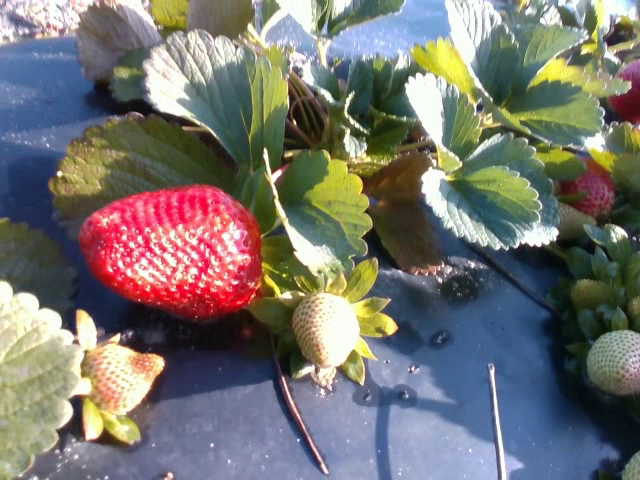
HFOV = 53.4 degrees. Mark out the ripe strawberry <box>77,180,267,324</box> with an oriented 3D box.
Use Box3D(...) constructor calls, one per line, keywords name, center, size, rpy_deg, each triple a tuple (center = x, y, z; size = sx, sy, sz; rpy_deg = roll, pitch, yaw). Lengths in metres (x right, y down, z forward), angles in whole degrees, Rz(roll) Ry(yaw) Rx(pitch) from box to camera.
Box3D(name="ripe strawberry", center=(-0.051, 0.001, 0.210), size=(0.056, 0.055, 0.072), rpy_deg=(-10, 5, 32))
